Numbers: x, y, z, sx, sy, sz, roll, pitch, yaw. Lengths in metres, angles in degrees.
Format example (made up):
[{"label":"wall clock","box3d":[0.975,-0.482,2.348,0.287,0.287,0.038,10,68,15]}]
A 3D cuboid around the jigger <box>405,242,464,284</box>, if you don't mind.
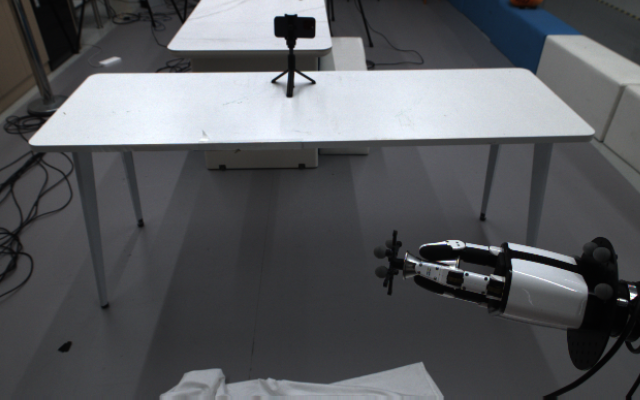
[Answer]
[{"label":"jigger","box3d":[0.153,0.085,0.634,0.071,0.043,0.043,5,34,19]}]
